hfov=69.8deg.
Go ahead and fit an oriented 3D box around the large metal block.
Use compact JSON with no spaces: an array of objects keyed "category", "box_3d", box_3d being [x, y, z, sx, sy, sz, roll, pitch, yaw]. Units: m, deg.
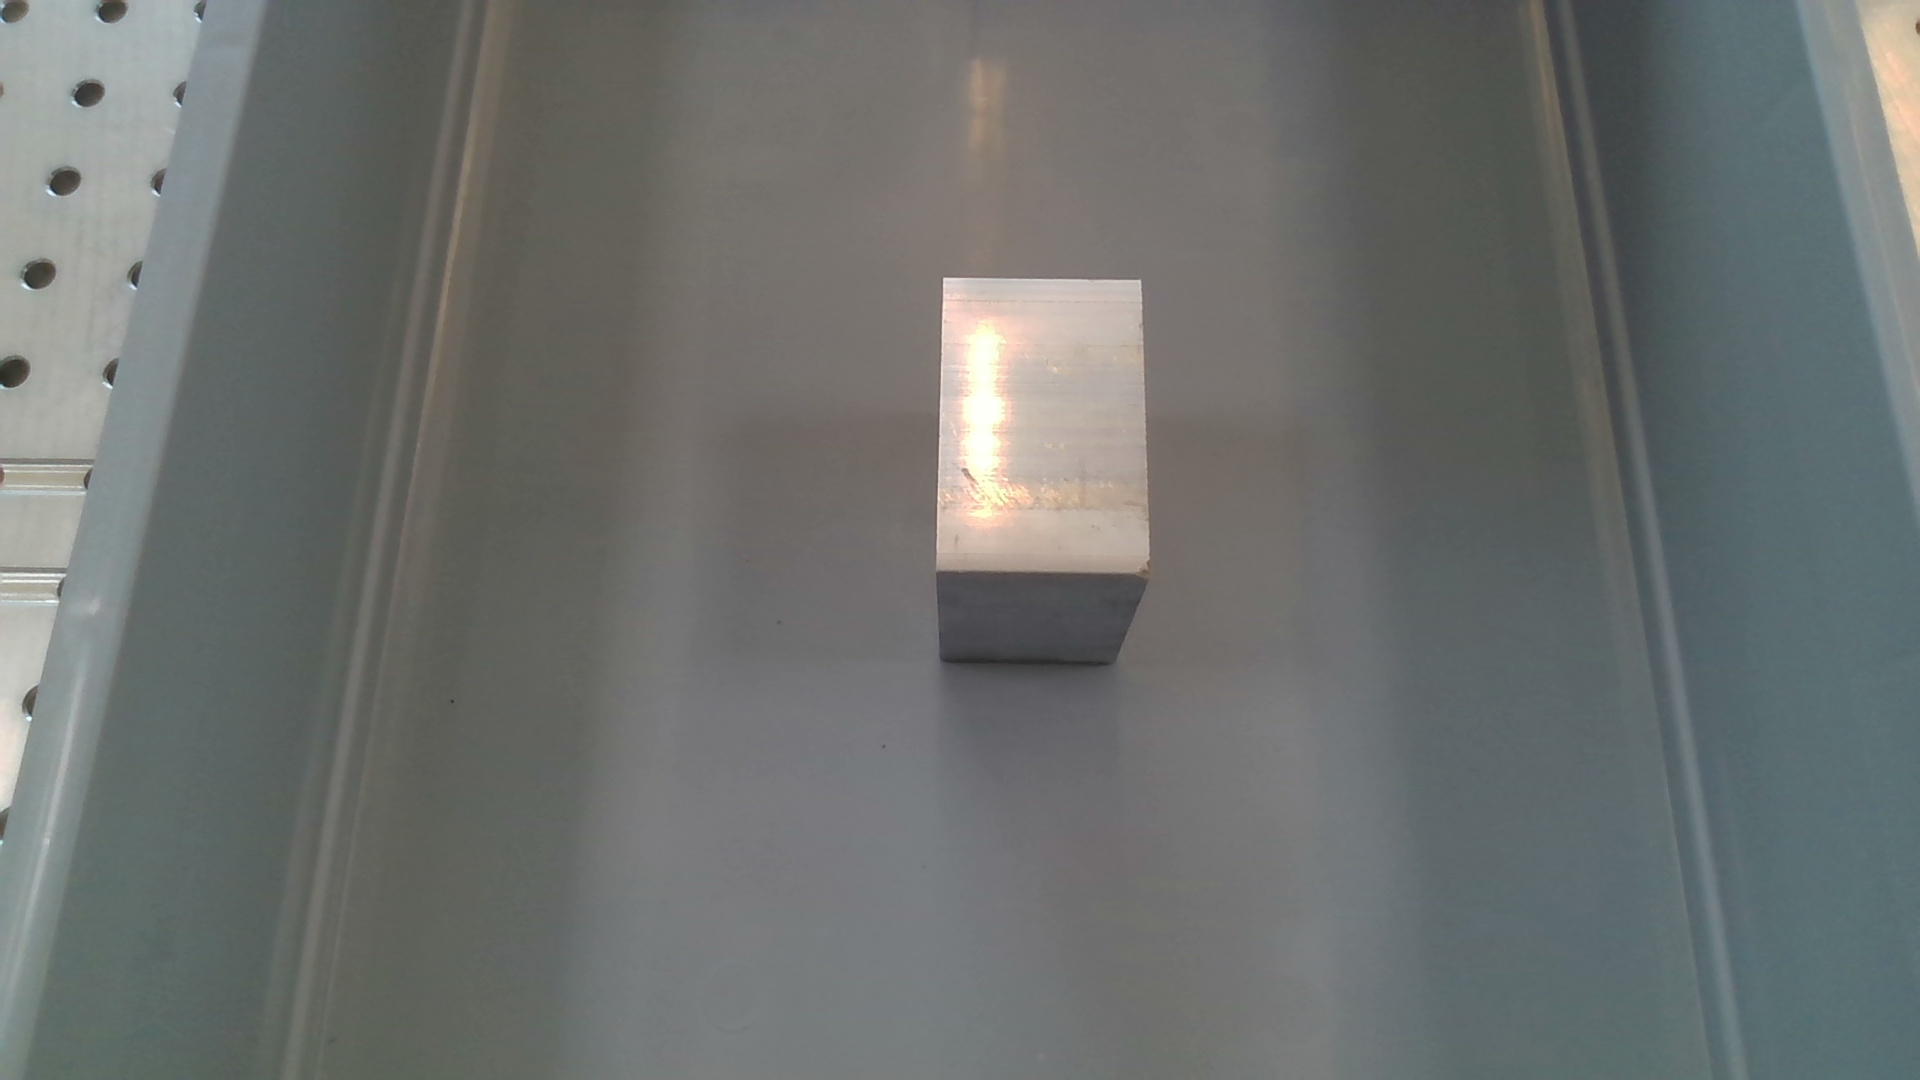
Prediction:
[{"category":"large metal block","box_3d":[0.020,-0.016,0.370,0.050,0.080,0.080,1,71,1]}]
